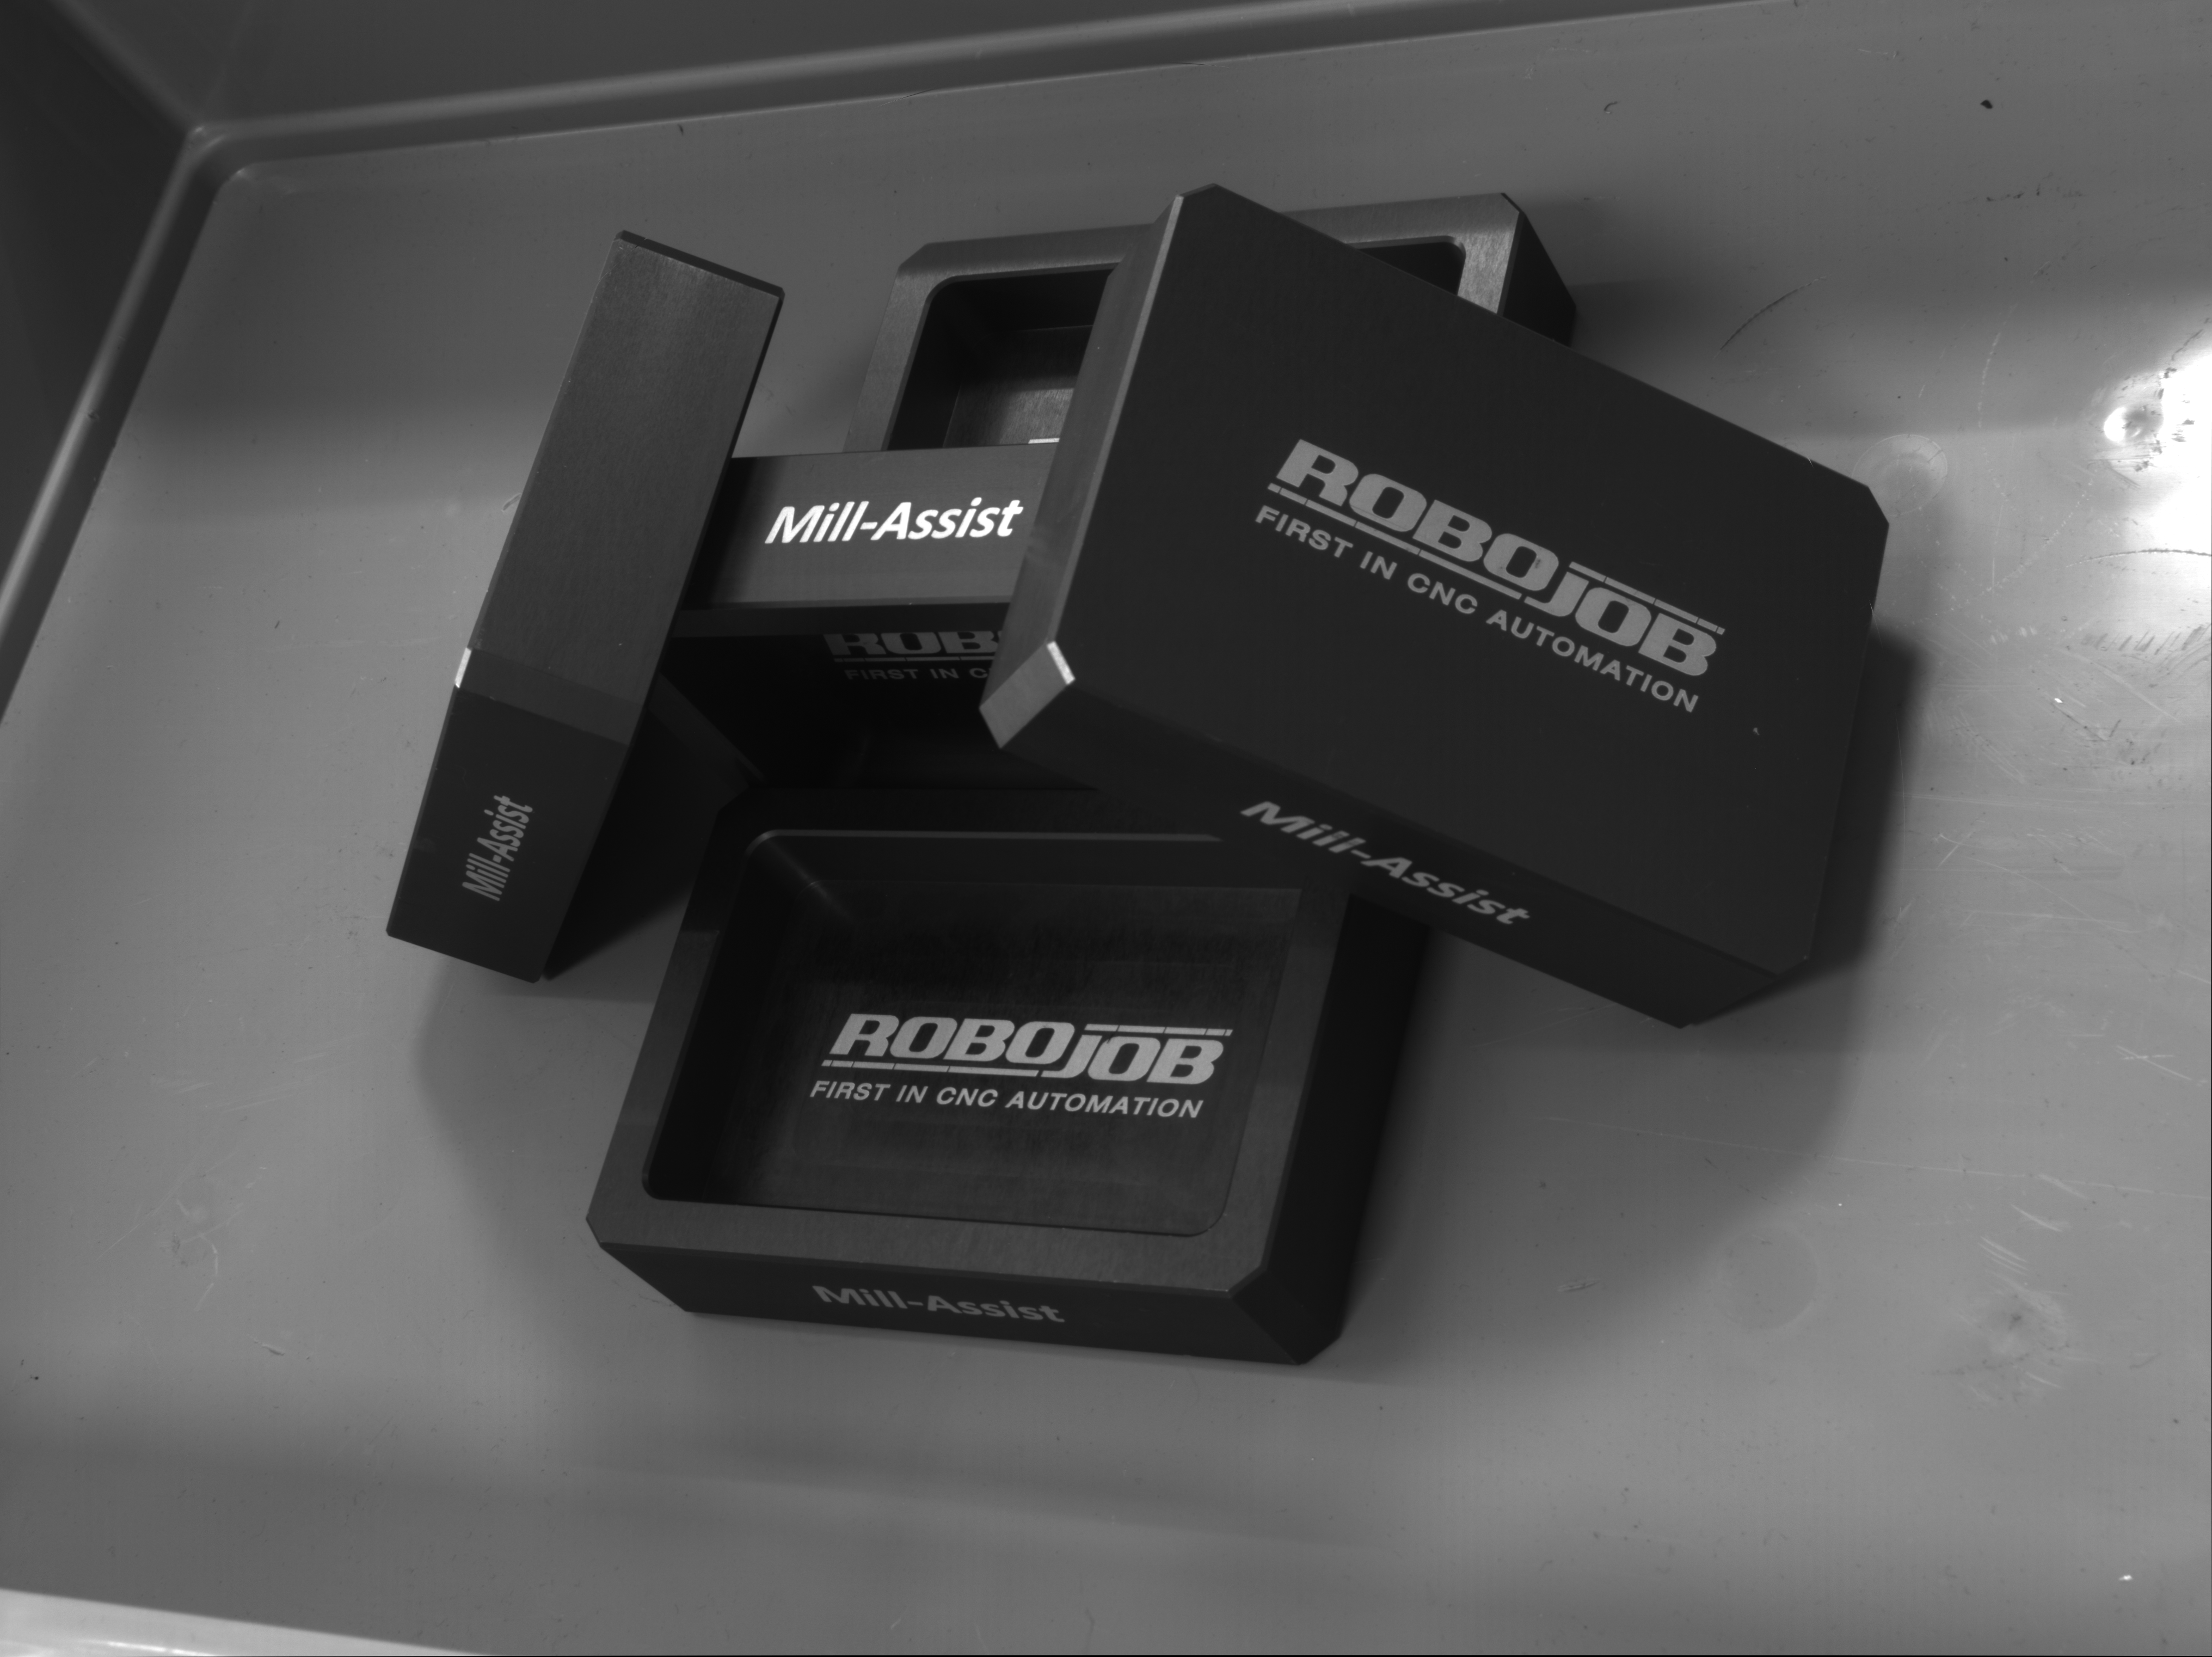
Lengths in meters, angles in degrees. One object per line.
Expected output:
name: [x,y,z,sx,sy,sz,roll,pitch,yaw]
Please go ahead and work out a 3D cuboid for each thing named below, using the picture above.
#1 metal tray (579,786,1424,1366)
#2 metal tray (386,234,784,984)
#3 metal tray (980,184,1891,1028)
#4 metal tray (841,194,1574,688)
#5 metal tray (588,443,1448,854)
metal tray: [-0.017,0.039,0.623,0.130,0.030,0.090,1,62,28]
metal tray: [-0.095,-0.036,0.657,0.030,0.130,0.090,19,65,-9]
metal tray: [0.054,-0.034,0.575,0.030,0.130,0.090,-40,31,61]
metal tray: [0.014,-0.067,0.674,0.130,0.030,0.090,0,62,28]
metal tray: [-0.016,-0.028,0.627,0.130,0.090,0.030,1,62,28]
